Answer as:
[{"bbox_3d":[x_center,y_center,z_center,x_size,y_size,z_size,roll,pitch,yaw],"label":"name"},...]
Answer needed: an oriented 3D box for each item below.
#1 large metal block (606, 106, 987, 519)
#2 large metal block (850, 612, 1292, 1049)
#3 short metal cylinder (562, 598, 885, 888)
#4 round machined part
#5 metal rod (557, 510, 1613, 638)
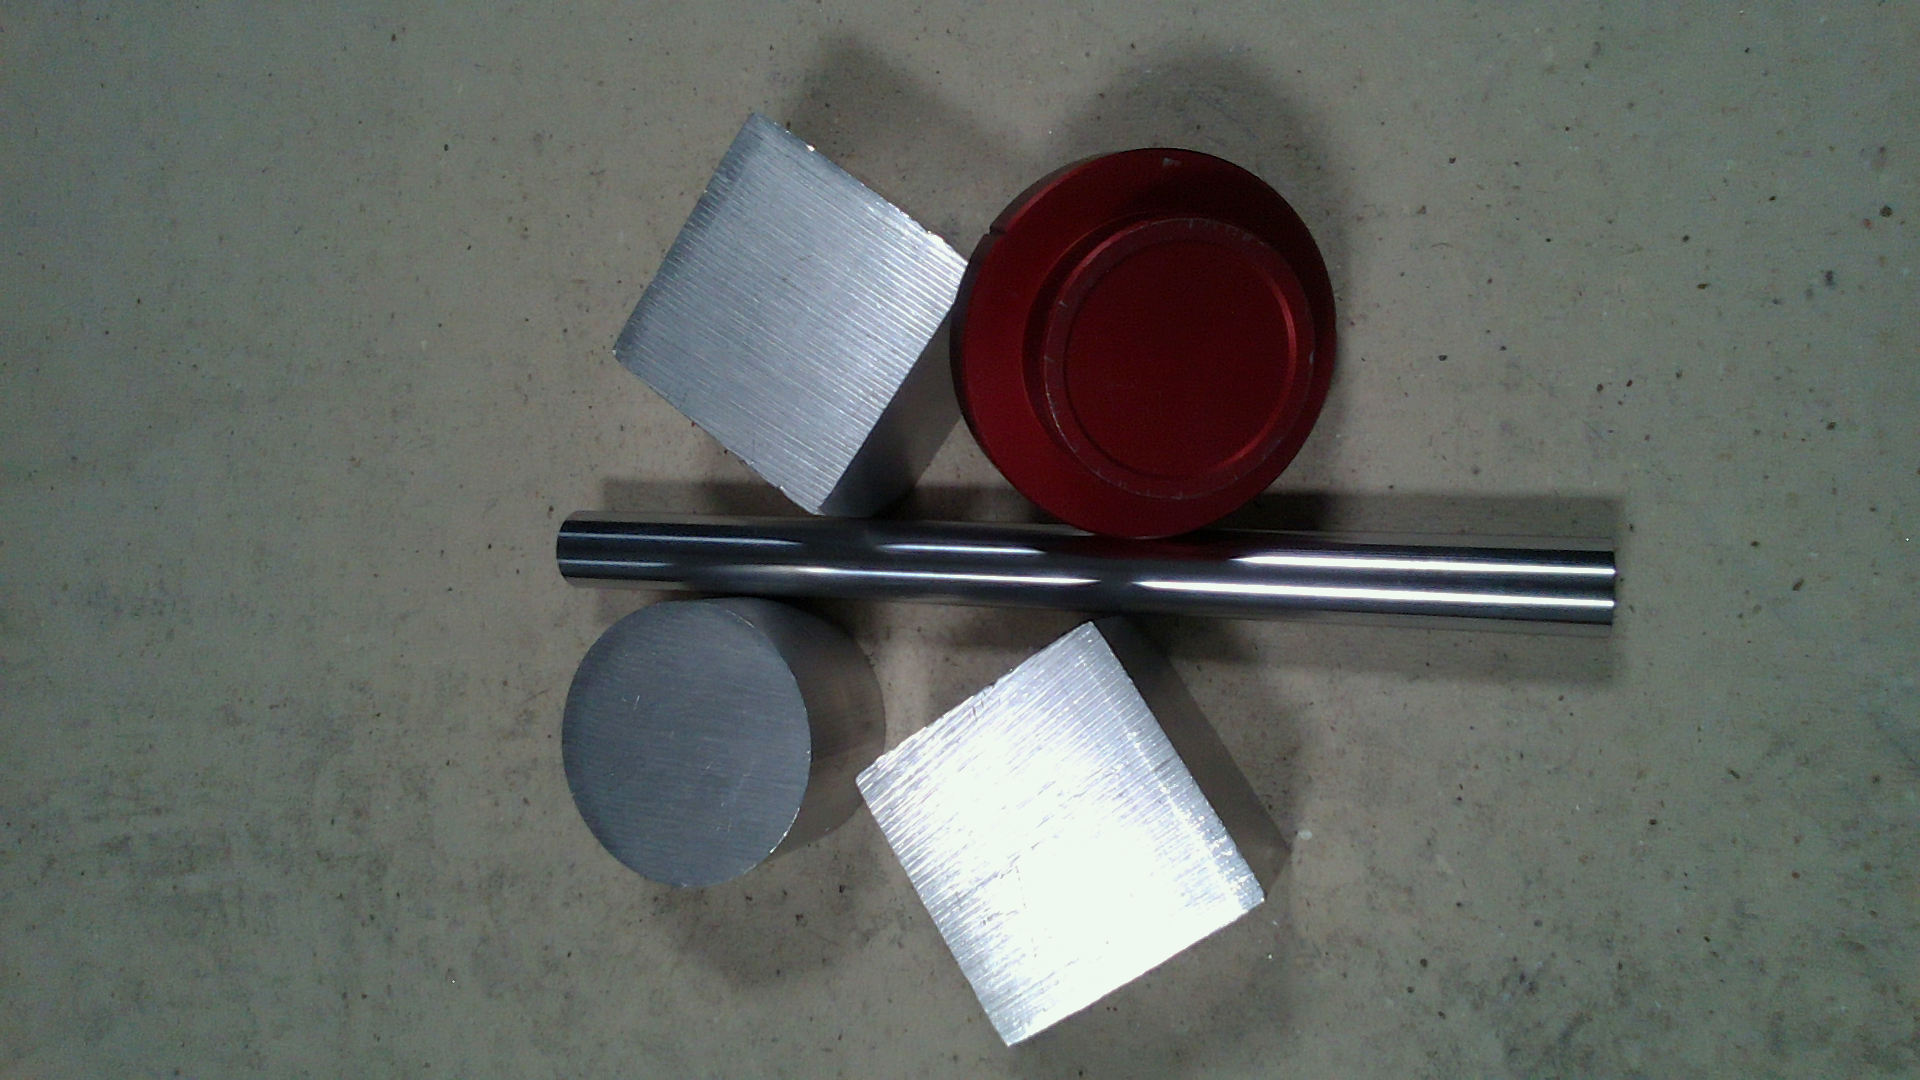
[{"bbox_3d":[-0.039,-0.062,0.394,0.080,0.050,0.080,38,102,16],"label":"large metal block"},{"bbox_3d":[0.031,0.075,0.372,0.080,0.050,0.080,-35,79,17],"label":"large metal block"},{"bbox_3d":[-0.069,0.057,0.408,0.080,0.050,0.080,0,90,20],"label":"short metal cylinder"},{"bbox_3d":[0.048,-0.048,0.345,0.098,0.042,0.098,-2,104,-8],"label":"round machined part"},{"bbox_3d":[0.019,0.007,0.390,0.299,0.025,0.025,2,91,20],"label":"metal rod"}]
